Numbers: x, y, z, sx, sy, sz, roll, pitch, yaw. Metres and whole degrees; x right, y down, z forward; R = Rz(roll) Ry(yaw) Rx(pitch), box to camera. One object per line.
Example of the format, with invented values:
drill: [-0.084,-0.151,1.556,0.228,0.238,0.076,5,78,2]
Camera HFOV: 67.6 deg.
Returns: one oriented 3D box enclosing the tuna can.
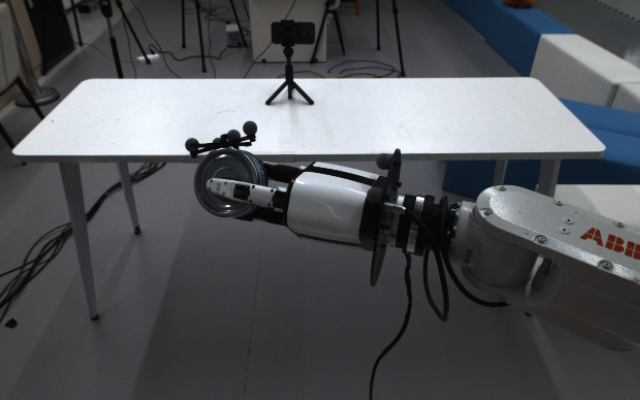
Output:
tuna can: [-0.105,-0.015,0.588,0.085,0.085,0.034,12,3,14]
